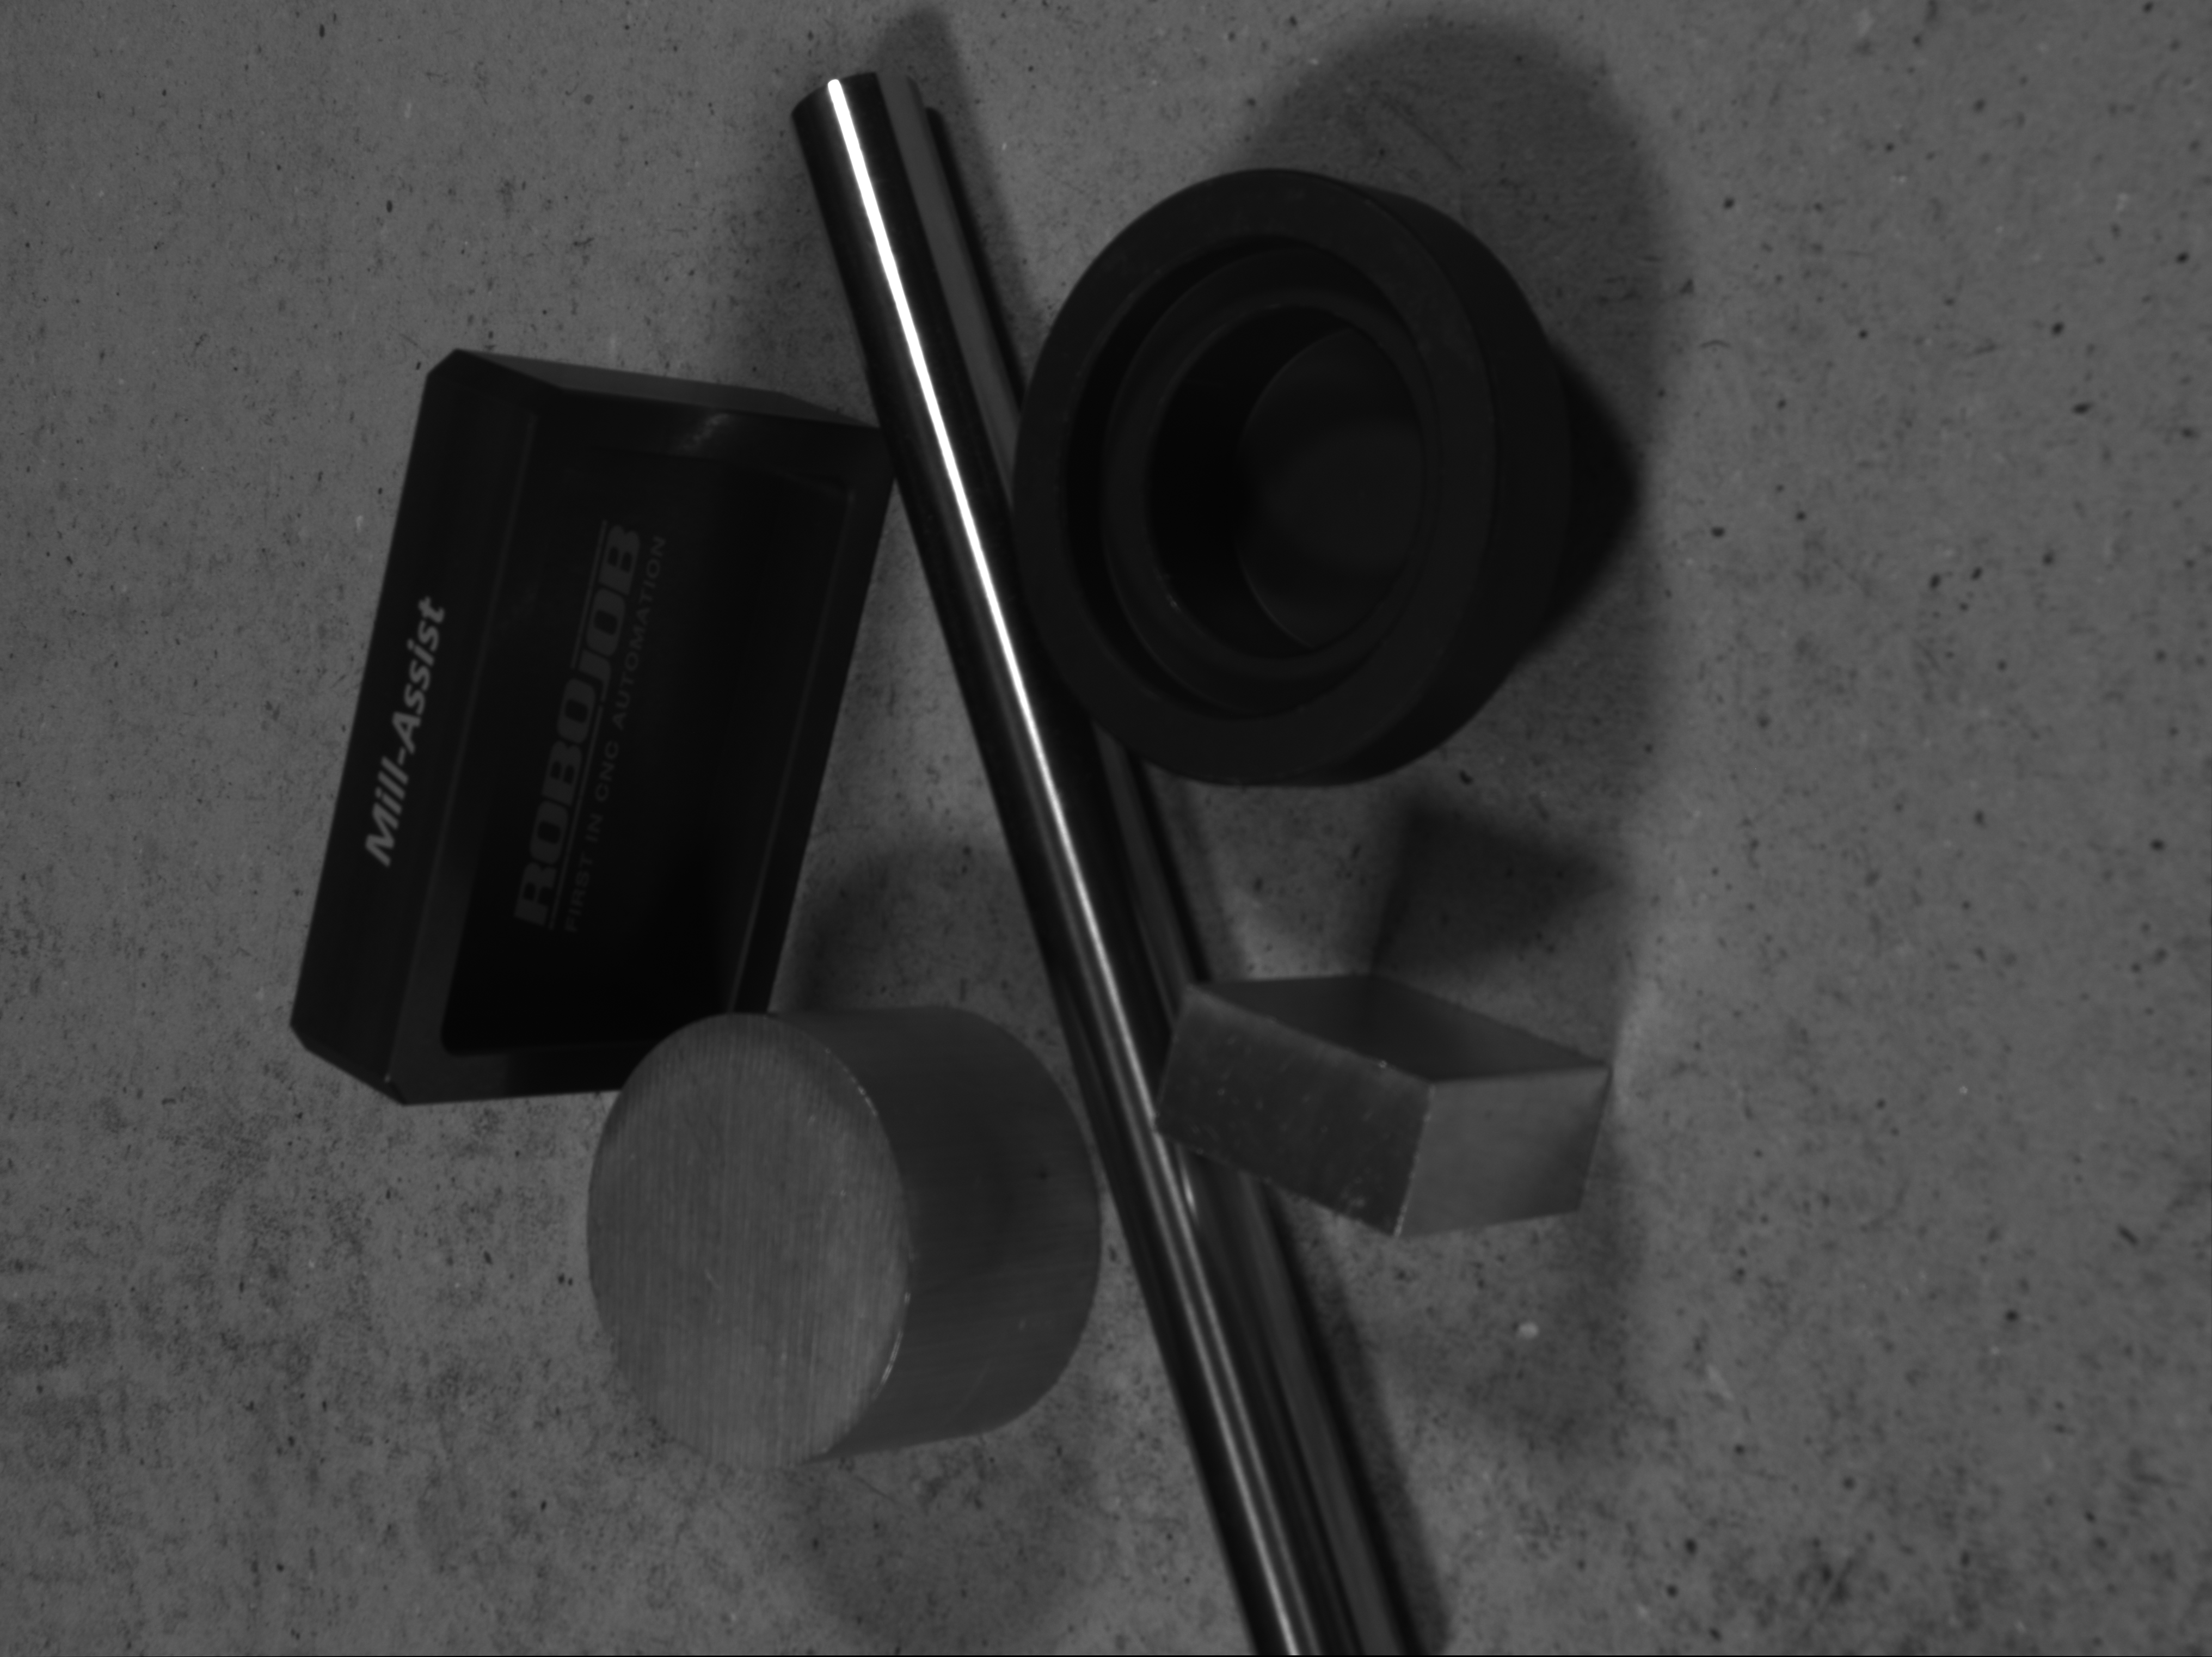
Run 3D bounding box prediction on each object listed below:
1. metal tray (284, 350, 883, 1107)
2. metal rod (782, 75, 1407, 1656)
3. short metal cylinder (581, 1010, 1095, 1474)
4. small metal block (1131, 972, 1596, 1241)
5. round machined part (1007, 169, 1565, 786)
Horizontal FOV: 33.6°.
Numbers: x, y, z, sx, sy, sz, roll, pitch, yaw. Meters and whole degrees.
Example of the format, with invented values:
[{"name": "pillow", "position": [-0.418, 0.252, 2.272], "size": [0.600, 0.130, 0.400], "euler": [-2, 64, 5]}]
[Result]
[{"name": "metal tray", "position": [-0.094, -0.017, 0.672], "size": [0.030, 0.090, 0.130], "euler": [23, 104, 37]}, {"name": "metal rod", "position": [-0.004, 0.006, 0.641], "size": [0.025, 0.025, 0.300], "euler": [-28, 73, 36]}, {"name": "short metal cylinder", "position": [-0.049, 0.073, 0.660], "size": [0.080, 0.050, 0.080], "euler": [0, 90, 39]}, {"name": "small metal block", "position": [0.041, 0.043, 0.583], "size": [0.050, 0.050, 0.025], "euler": [21, 103, 37]}, {"name": "round machined part", "position": [0.034, -0.056, 0.598], "size": [0.098, 0.042, 0.098], "euler": [0, 90, 39]}]
